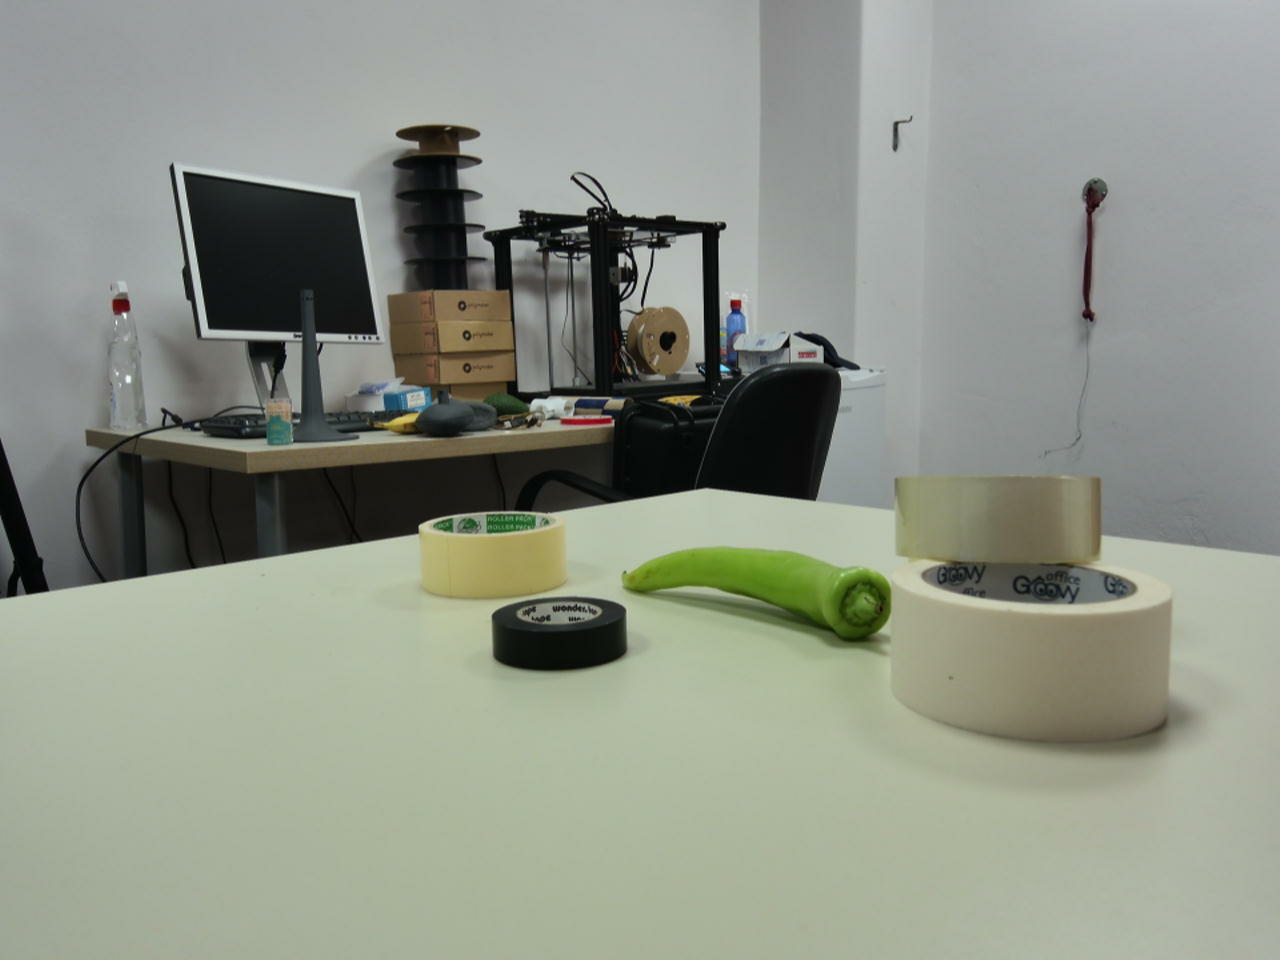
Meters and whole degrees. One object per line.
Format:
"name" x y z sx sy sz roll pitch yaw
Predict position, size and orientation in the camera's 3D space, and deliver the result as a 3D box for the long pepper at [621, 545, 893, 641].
"long pepper" 0.062 0.055 0.560 0.046 0.038 0.197 -3 7 -40
